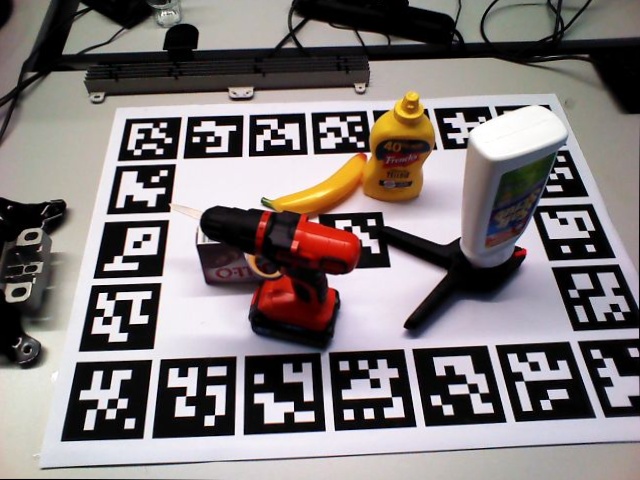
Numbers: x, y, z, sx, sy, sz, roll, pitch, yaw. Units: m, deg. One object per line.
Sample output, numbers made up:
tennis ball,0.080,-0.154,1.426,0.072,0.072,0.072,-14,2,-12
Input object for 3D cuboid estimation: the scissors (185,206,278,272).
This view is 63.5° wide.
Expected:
scissors,-0.121,-0.025,0.666,0.203,0.016,0.087,21,63,8

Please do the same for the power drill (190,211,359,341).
power drill,-0.049,0.042,0.608,0.185,0.188,0.057,7,50,8

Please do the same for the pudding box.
pudding box,-0.112,0.017,0.716,0.114,0.090,0.038,1,50,0

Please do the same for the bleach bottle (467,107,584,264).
bleach bottle,0.239,-0.046,0.646,0.102,0.251,0.068,-21,55,-6

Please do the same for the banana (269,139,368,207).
banana,0.014,-0.103,0.819,0.196,0.039,0.074,-37,47,-21

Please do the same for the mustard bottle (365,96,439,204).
mustard bottle,0.123,-0.132,0.759,0.096,0.192,0.058,10,57,5

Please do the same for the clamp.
clamp,0.204,0.027,0.724,0.203,0.037,0.164,-7,59,-6
